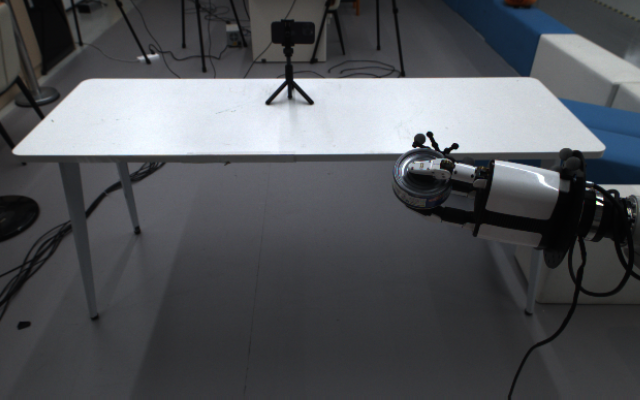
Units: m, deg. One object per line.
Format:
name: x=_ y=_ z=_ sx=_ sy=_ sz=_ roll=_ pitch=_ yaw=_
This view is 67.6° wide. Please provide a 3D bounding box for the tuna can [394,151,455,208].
tuna can: x=0.150 y=-0.026 z=0.686 sx=0.085 sy=0.034 sz=0.085 roll=-4 pitch=58 yaw=6
